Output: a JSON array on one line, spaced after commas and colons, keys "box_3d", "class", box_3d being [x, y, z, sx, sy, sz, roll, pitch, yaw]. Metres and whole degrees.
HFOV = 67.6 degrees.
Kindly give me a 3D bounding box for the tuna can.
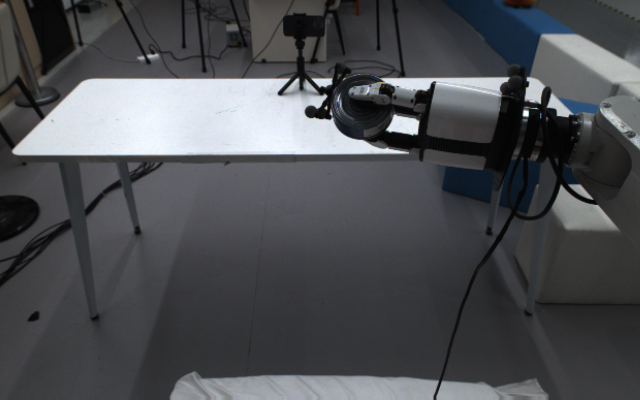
[{"box_3d": [0.059, -0.130, 0.664, 0.085, 0.034, 0.085, -2, 71, 5], "class": "tuna can"}]
